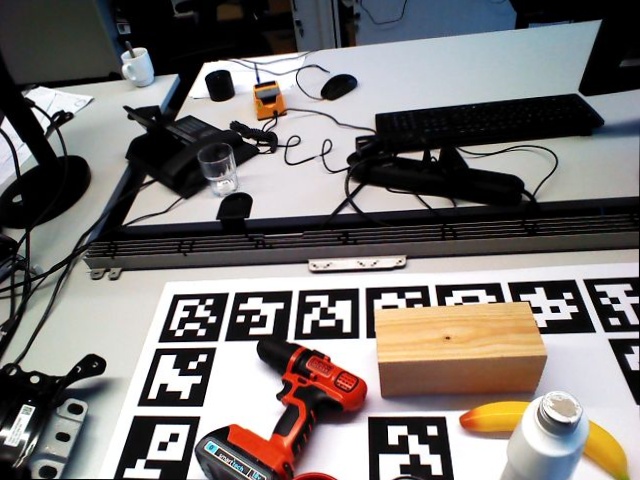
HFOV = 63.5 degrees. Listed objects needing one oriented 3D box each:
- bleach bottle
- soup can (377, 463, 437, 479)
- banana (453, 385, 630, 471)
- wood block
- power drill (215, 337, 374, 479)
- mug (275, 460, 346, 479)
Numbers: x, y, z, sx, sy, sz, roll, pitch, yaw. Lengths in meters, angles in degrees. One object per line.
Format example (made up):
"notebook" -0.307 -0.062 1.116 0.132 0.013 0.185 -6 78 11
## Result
"bleach bottle" 0.207 0.210 0.487 0.068 0.251 0.102 19 49 30
"soup can" 0.091 0.287 0.531 0.068 0.102 0.067 -5 38 4
"banana" 0.264 0.213 0.625 0.198 0.039 0.074 9 60 19
"wood block" 0.188 0.142 0.688 0.207 0.091 0.089 -4 43 8
"power drill" -0.048 0.224 0.681 0.185 0.057 0.185 21 50 27
"mug" -0.014 0.307 0.555 0.116 0.082 0.093 -38 50 -22
